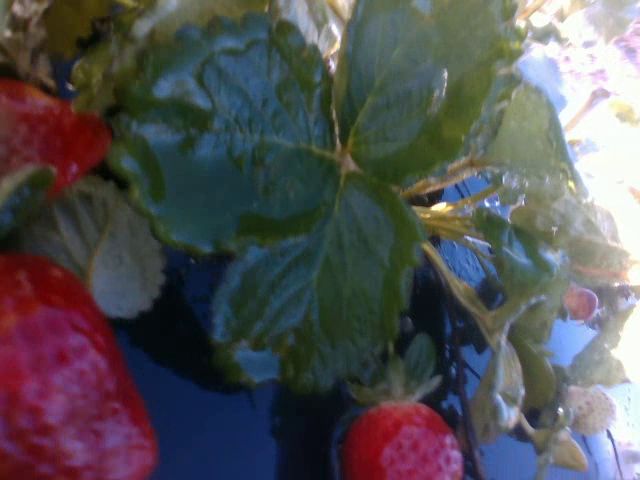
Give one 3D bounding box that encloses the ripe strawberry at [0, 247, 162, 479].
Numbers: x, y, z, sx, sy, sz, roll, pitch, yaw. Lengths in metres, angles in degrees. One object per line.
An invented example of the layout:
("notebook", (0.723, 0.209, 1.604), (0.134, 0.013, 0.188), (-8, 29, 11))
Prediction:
("ripe strawberry", (-0.040, 0.031, 0.097), (0.040, 0.044, 0.056), (-2, -46, 38))
